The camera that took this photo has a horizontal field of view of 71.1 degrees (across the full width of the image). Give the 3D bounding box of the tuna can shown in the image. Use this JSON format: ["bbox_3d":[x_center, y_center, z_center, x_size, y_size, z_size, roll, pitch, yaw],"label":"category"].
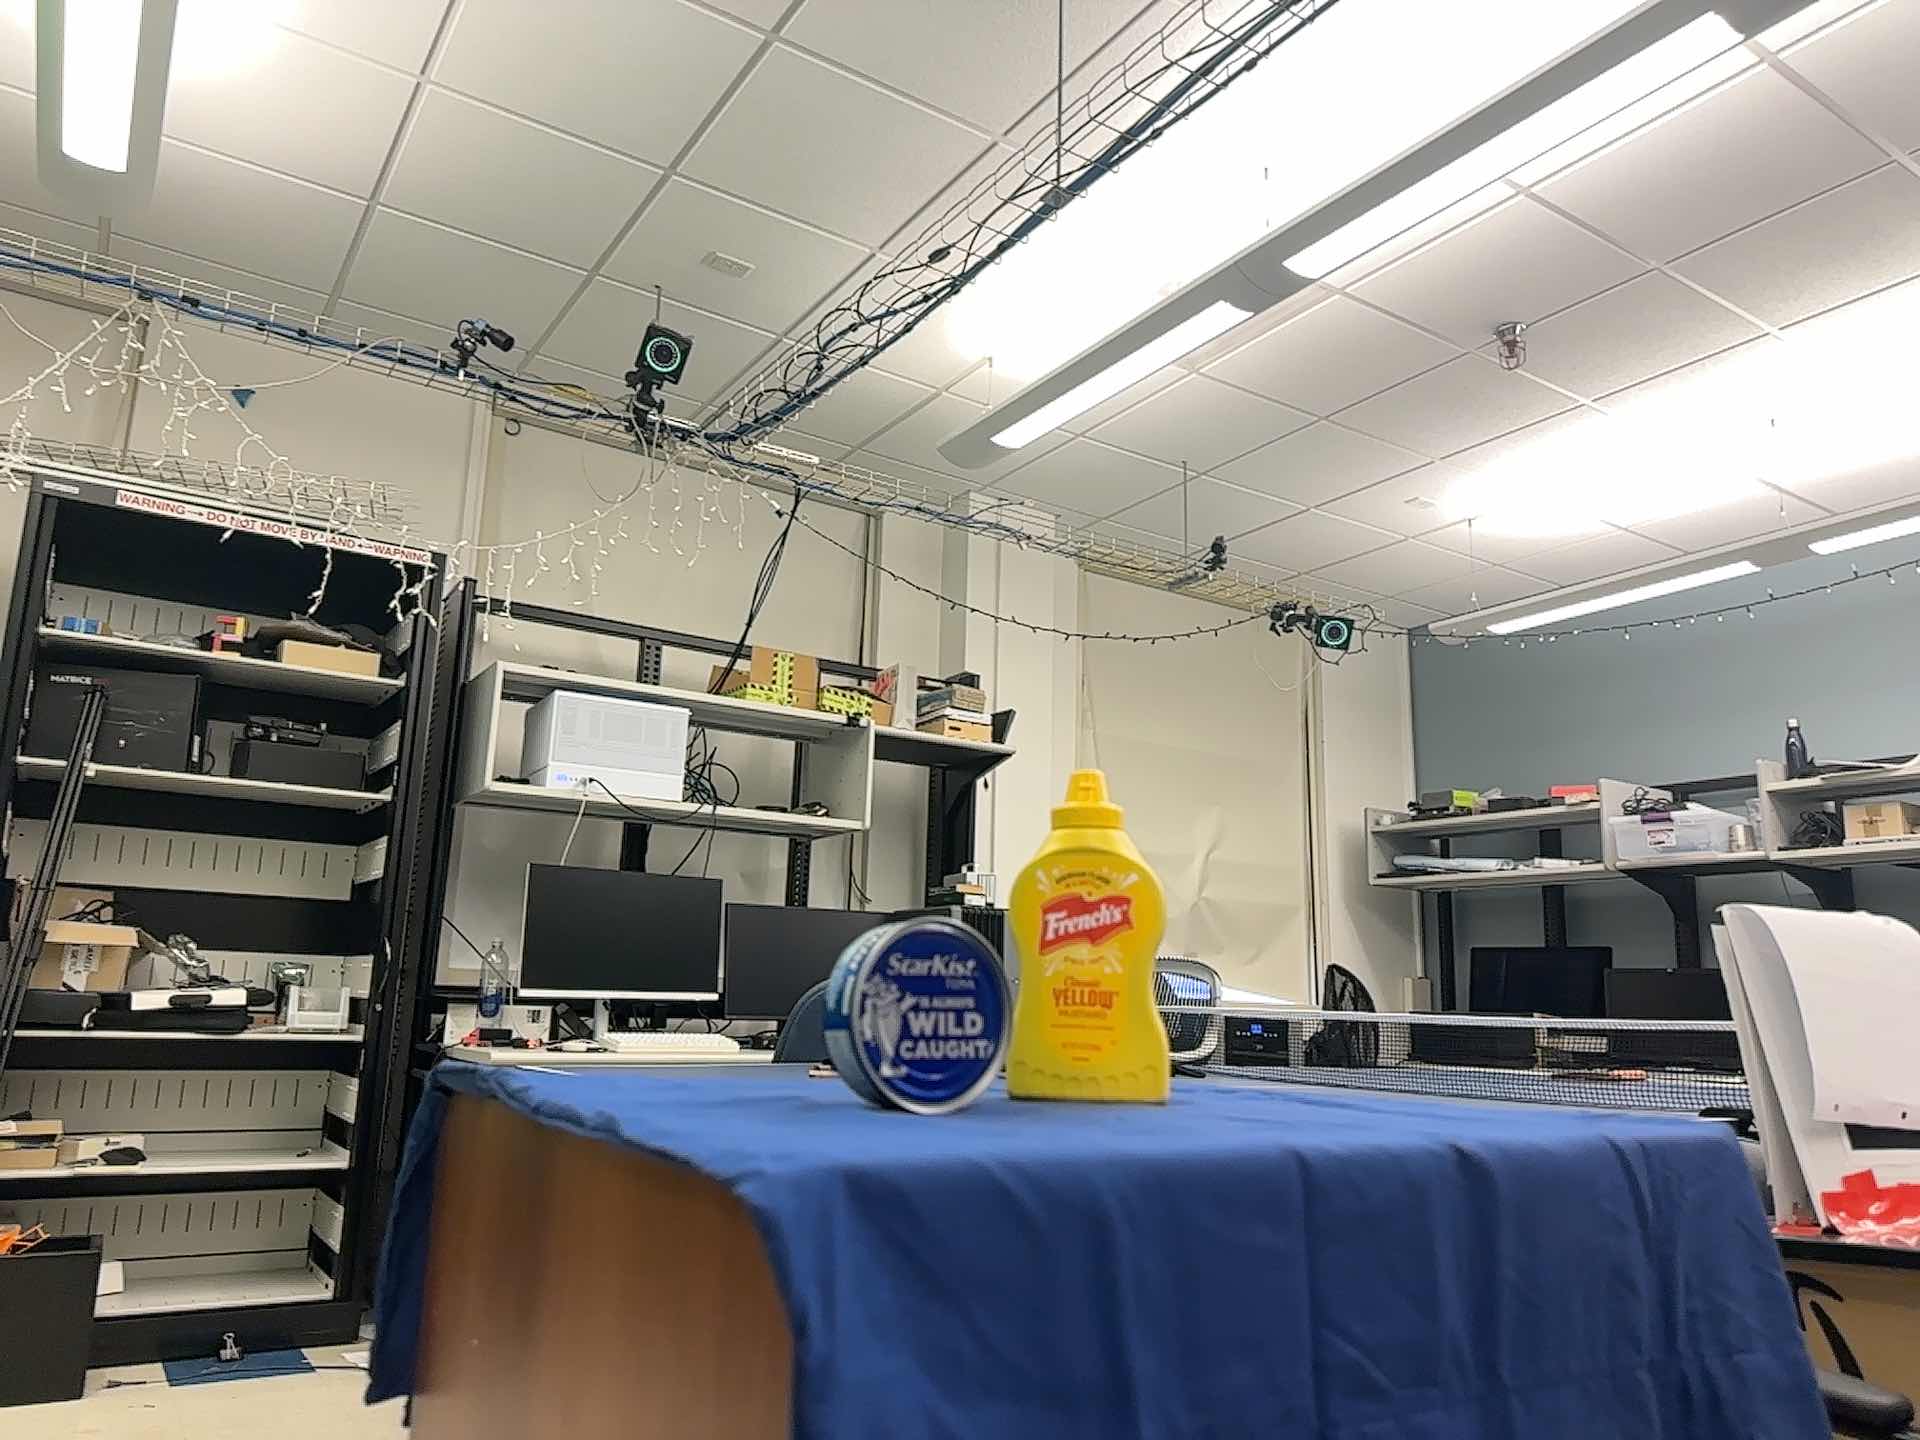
[{"bbox_3d":[-0.019,0.136,0.622,0.083,0.083,0.034,8,-14,-29],"label":"tuna can"}]

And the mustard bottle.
[{"bbox_3d":[0.068,0.112,0.737,0.092,0.184,0.054,-2,-12,17],"label":"mustard bottle"}]
